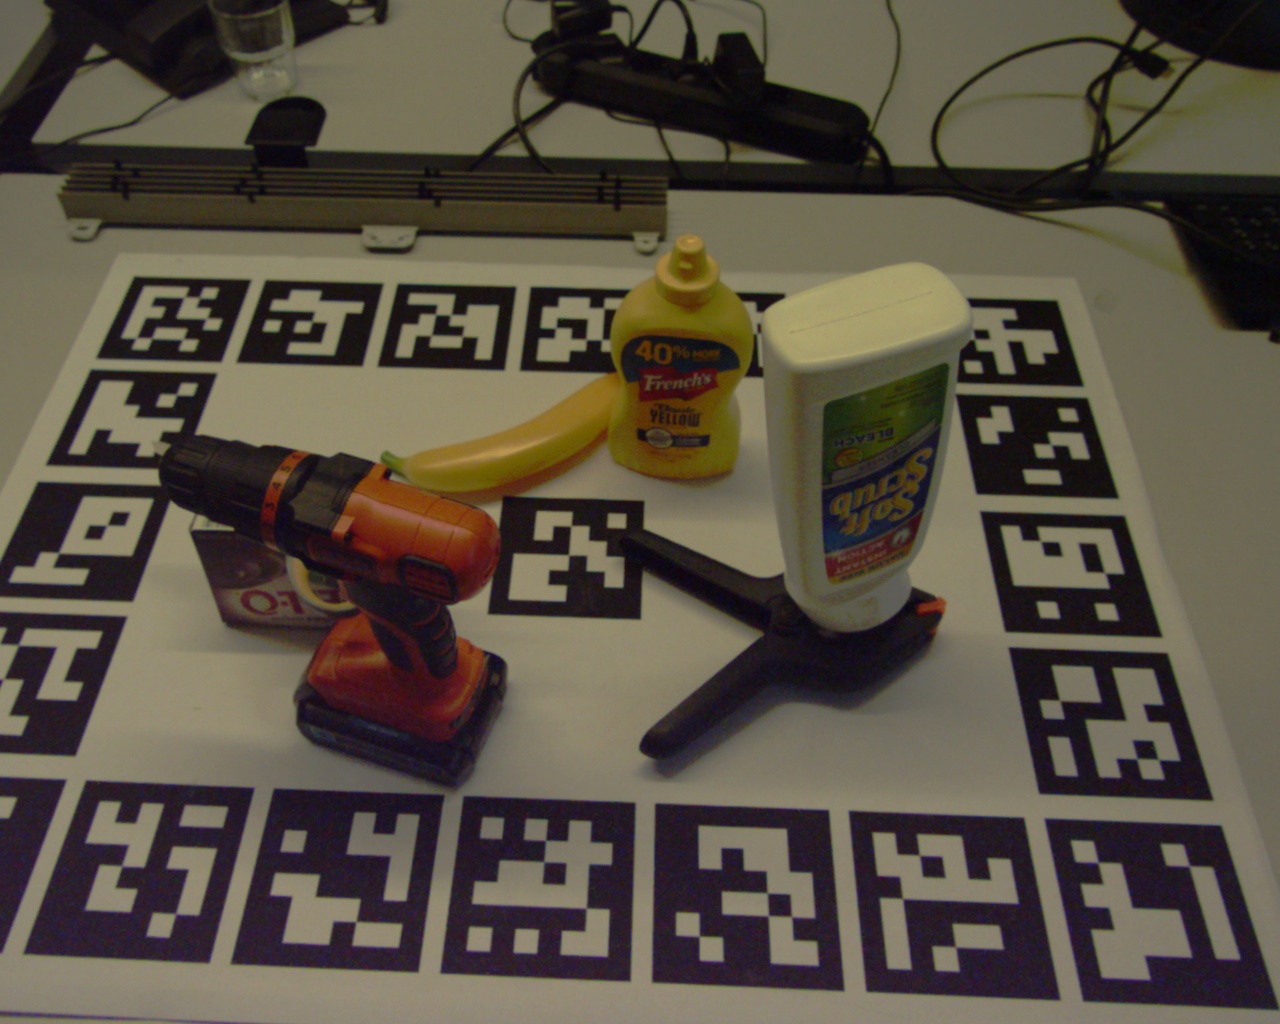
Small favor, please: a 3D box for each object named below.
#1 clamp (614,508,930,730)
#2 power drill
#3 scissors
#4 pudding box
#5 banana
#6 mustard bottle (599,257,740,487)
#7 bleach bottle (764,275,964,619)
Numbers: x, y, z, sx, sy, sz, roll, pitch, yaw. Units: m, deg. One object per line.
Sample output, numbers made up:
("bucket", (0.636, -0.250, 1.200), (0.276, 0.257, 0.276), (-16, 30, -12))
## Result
("clamp", (0.089, 0.061, 0.750), (0.202, 0.036, 0.166), (-3, 53, -4))
("power drill", (-0.167, 0.049, 0.646), (0.185, 0.186, 0.057), (11, 45, 11))
("scissors", (-0.233, -0.017, 0.714), (0.204, 0.016, 0.087), (24, 59, 12))
("pudding box", (-0.226, 0.029, 0.760), (0.114, 0.090, 0.039), (6, 45, 3))
("banana", (-0.089, -0.073, 0.867), (0.196, 0.038, 0.075), (-31, 41, -22))
("mustard bottle", (0.021, -0.099, 0.805), (0.096, 0.191, 0.058), (14, 52, 8))
("bleach bottle", (0.127, -0.015, 0.678), (0.102, 0.249, 0.068), (-17, 49, -5))
